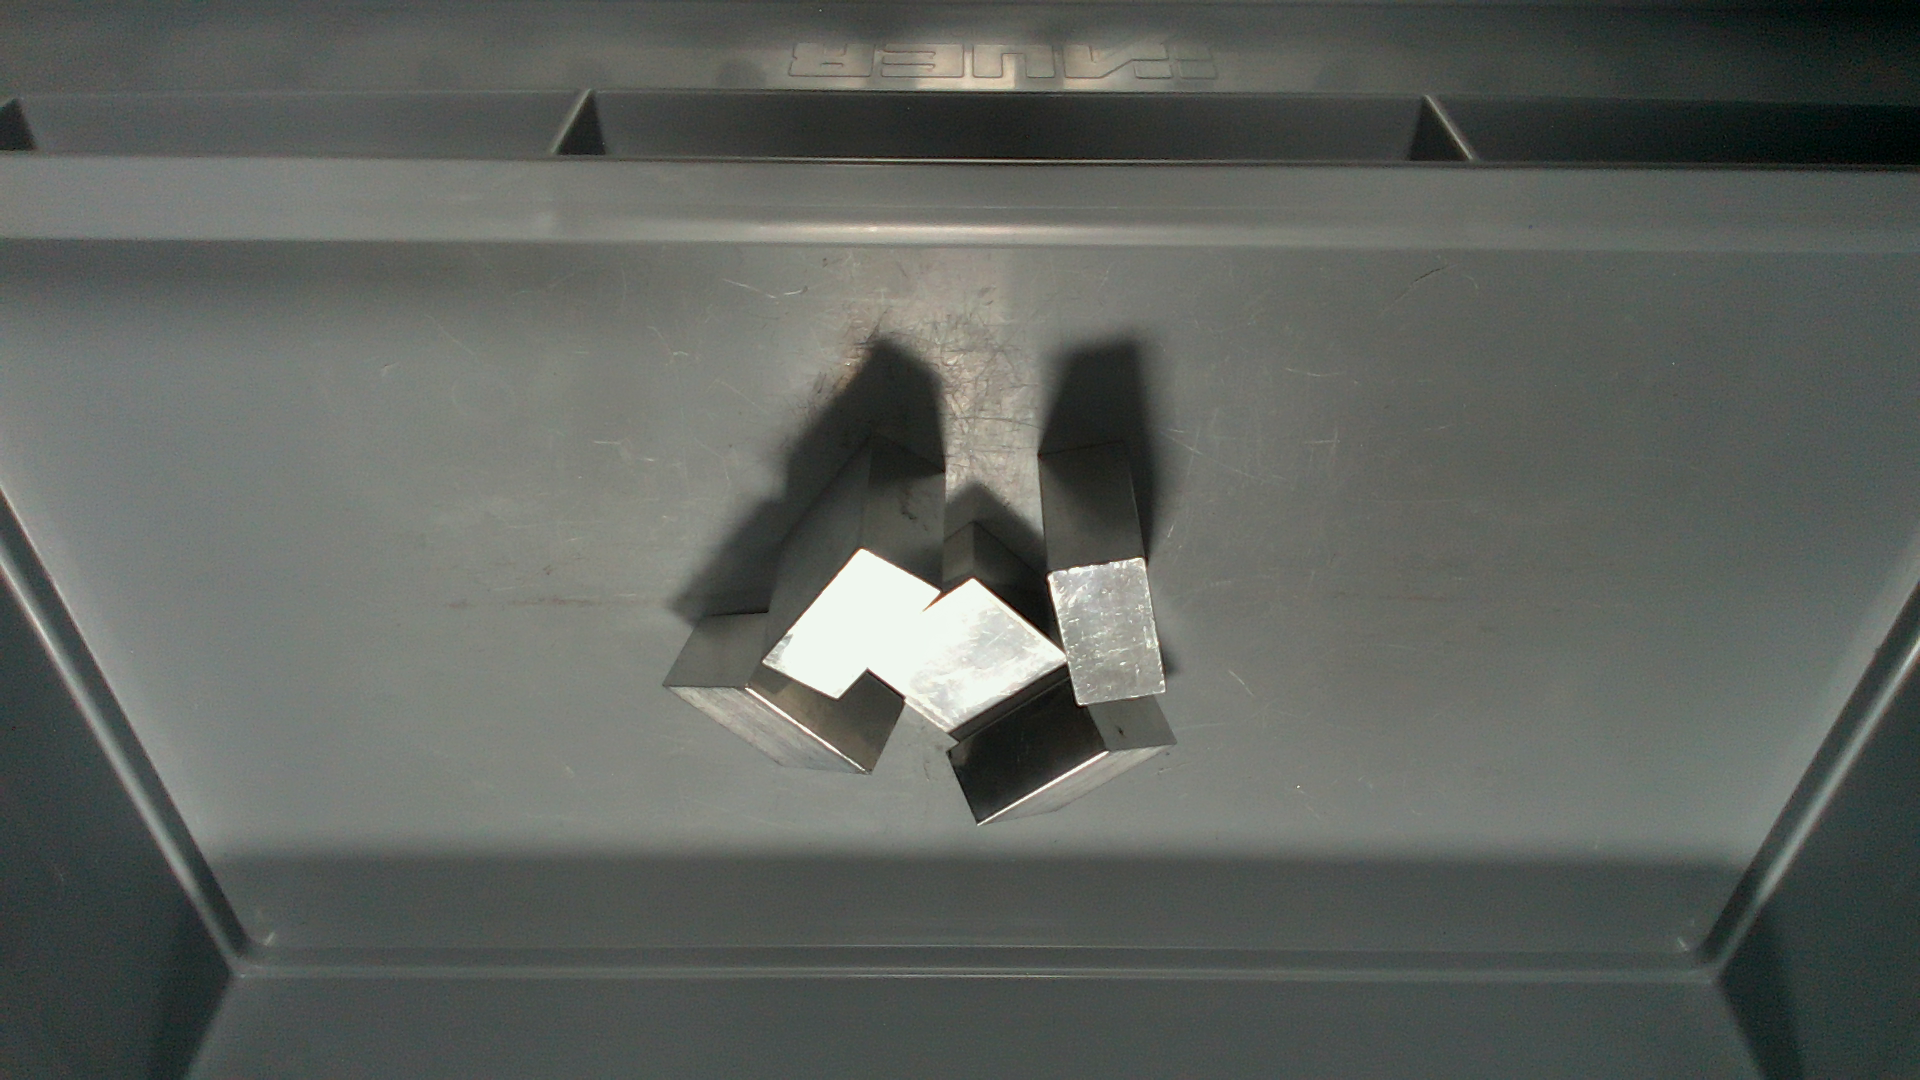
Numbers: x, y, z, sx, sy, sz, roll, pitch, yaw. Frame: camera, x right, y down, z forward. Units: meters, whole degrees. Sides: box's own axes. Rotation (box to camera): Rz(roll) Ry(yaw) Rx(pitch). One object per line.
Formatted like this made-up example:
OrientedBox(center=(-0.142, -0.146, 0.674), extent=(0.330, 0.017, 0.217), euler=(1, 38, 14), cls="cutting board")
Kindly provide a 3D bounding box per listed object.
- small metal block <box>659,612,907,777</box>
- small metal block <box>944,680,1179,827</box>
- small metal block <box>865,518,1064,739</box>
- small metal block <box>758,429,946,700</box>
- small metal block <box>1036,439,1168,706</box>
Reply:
OrientedBox(center=(-0.053, 0.046, 0.413), extent=(0.050, 0.025, 0.050), euler=(41, 152, -29), cls="small metal block")
OrientedBox(center=(0.032, 0.064, 0.427), extent=(0.050, 0.025, 0.050), euler=(-34, 159, 25), cls="small metal block")
OrientedBox(center=(0.002, 0.029, 0.412), extent=(0.050, 0.025, 0.050), euler=(-35, 122, 26), cls="small metal block")
OrientedBox(center=(-0.029, 0.007, 0.377), extent=(0.025, 0.050, 0.050), euler=(29, 124, -22), cls="small metal block")
OrientedBox(center=(0.039, 0.009, 0.379), extent=(0.025, 0.050, 0.050), euler=(-10, 129, 7), cls="small metal block")
